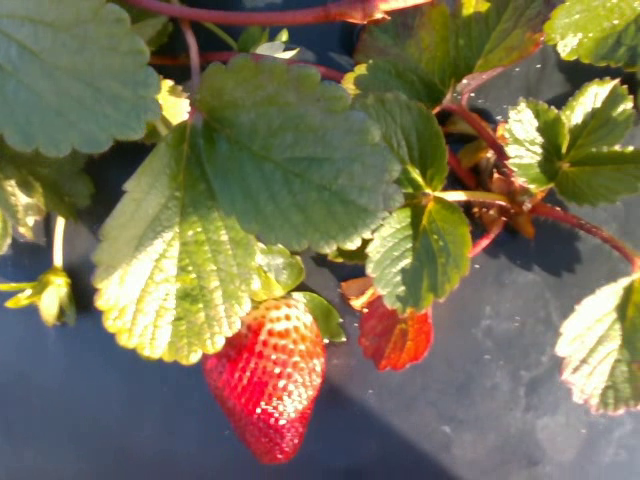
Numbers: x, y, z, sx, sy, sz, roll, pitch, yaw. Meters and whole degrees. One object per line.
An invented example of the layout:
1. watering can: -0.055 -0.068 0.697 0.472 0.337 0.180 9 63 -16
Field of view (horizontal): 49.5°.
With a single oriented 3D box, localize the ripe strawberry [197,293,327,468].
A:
1. ripe strawberry: -0.018 0.042 0.201 0.040 0.056 0.040 -27 -23 38
